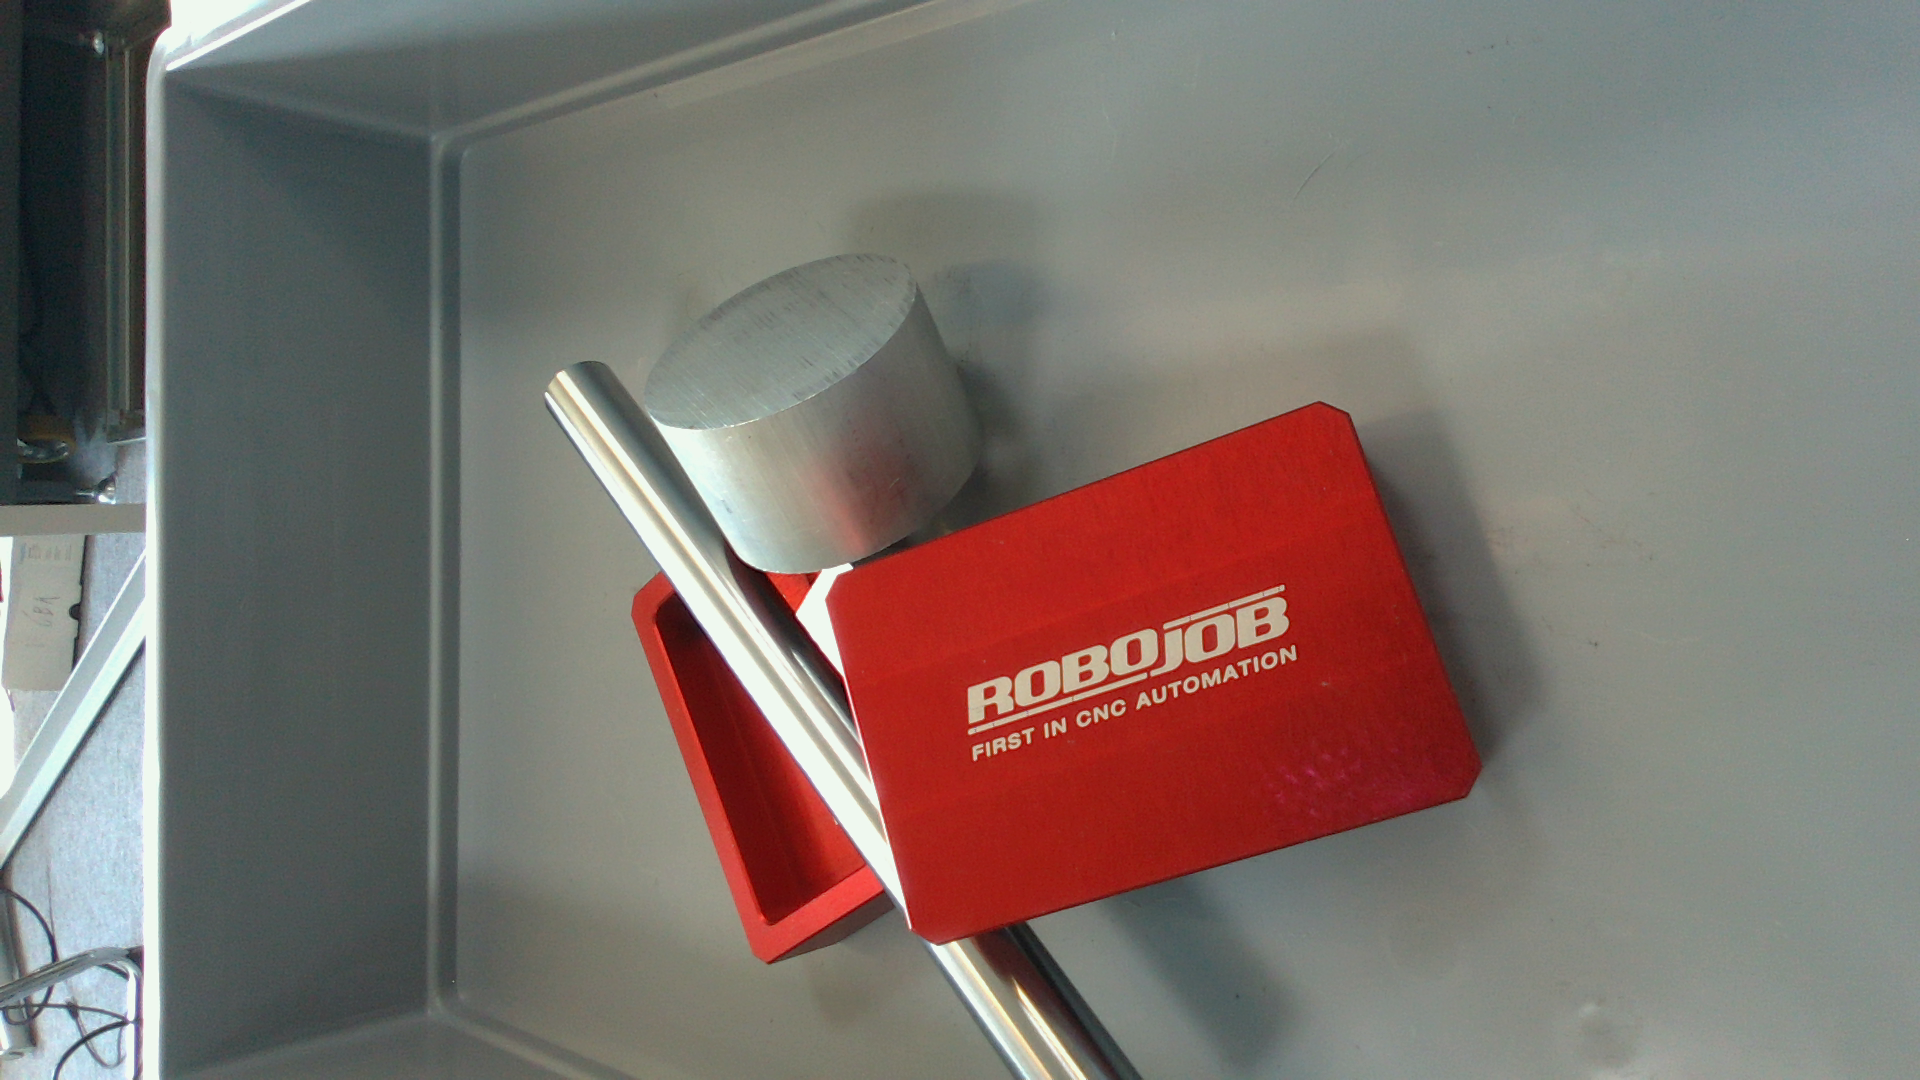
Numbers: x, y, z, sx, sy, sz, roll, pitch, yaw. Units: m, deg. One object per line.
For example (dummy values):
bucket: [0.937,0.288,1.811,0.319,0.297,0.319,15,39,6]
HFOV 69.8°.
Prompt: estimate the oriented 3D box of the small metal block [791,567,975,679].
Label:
small metal block: [-0.010,0.028,0.385,0.050,0.050,0.025,48,119,29]

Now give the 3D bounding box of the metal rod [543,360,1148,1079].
metal rod: [-0.041,0.049,0.388,0.299,0.025,0.025,49,119,29]

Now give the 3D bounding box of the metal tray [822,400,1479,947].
metal tray: [0.041,0.033,0.322,0.130,0.030,0.090,-20,76,13]

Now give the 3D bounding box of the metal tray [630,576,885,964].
metal tray: [-0.049,0.053,0.431,0.090,0.030,0.130,-39,66,33]

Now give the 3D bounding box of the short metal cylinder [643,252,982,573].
short metal cylinder: [-0.040,-0.037,0.383,0.080,0.080,0.050,11,139,40]
